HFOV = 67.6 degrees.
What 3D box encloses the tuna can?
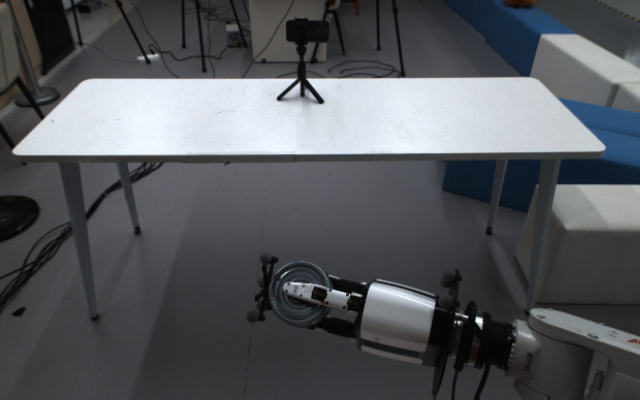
[{"bbox_3d":[-0.022,0.129,0.644,0.085,0.034,0.085,-2,69,6],"label":"tuna can"}]
